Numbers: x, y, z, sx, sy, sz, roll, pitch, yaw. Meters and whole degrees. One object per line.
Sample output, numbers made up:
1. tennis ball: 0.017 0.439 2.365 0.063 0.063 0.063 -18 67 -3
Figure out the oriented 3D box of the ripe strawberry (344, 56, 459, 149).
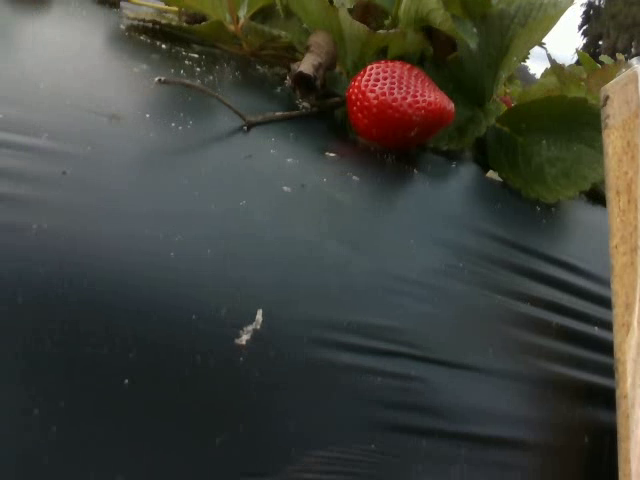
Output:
1. ripe strawberry: 0.028 -0.049 0.208 0.037 0.037 0.046 -35 36 -20
